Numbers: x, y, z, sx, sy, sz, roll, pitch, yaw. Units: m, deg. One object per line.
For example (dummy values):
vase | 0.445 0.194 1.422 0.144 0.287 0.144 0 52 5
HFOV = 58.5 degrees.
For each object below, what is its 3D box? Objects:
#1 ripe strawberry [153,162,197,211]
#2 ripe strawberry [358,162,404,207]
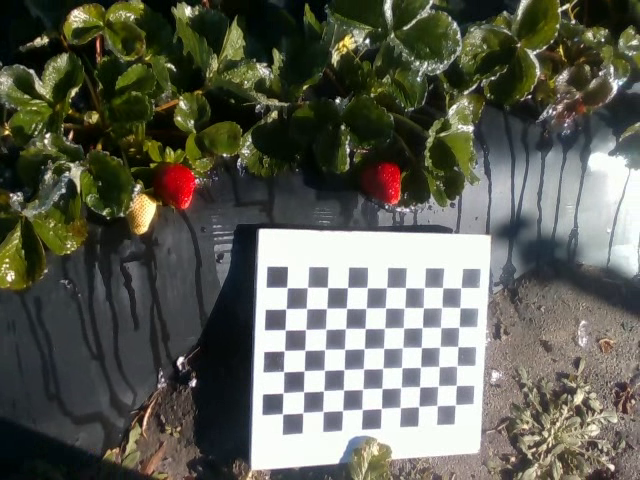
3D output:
ripe strawberry | -0.146 -0.049 0.594 0.042 0.061 0.046 -15 -34 -13
ripe strawberry | 0.077 -0.062 0.644 0.048 0.061 0.044 -7 -27 -14
